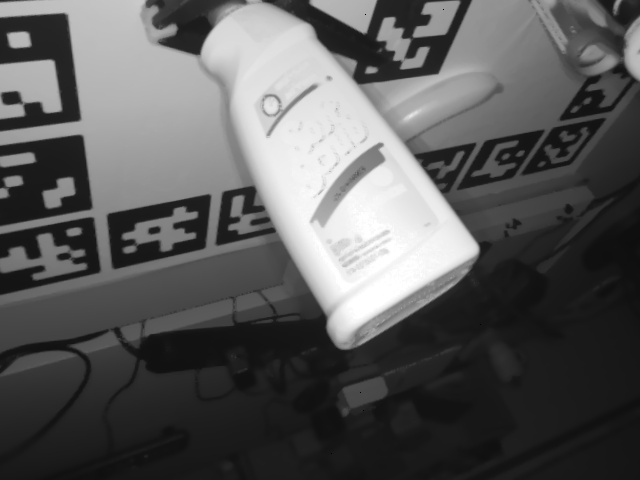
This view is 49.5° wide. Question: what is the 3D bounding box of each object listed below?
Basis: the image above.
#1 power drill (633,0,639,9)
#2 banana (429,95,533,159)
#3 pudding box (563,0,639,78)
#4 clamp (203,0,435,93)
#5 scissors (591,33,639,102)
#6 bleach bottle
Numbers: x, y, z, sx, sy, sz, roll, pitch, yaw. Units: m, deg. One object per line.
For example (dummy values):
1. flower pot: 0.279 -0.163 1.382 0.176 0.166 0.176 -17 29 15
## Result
1. power drill: 0.293 -0.179 0.542 0.187 0.187 0.056 -5 151 -36
2. banana: 0.140 -0.102 0.739 0.196 0.039 0.075 -32 166 10
3. pudding box: 0.301 -0.200 0.669 0.115 0.090 0.038 -8 152 -26
4. clamp: 0.013 -0.166 0.532 0.205 0.037 0.163 -14 146 -17
5. scissors: 0.331 -0.147 0.645 0.205 0.016 0.086 12 130 -40
6. bleach bottle: 0.016 -0.068 0.477 0.103 0.250 0.067 -27 154 -11
